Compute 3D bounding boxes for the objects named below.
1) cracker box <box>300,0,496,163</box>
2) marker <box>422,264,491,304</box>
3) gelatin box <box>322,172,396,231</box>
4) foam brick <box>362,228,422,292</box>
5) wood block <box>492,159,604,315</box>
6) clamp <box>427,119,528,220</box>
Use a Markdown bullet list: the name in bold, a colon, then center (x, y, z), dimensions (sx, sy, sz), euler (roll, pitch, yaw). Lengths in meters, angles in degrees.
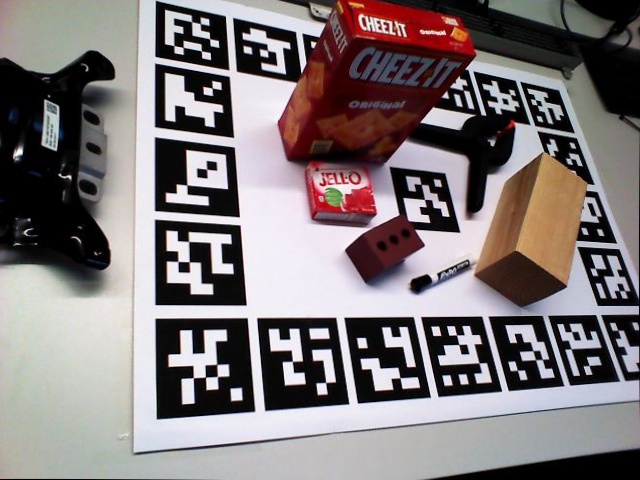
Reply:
- **cracker box**: center (0.090, -0.179, 0.639), dimensions (0.163, 0.215, 0.072), euler (-1, 67, -27)
- **marker**: center (0.183, 0.059, 0.695), dimensions (0.120, 0.020, 0.019), euler (-19, 79, -30)
- **gelatin box**: center (0.051, -0.050, 0.682), dimensions (0.089, 0.030, 0.073), euler (1, 69, -24)
- **foam brick**: center (0.104, 0.022, 0.657), dimensions (0.077, 0.052, 0.052), euler (-25, 81, -30)
- **wood block**: center (0.335, -0.007, 0.756), dimensions (0.090, 0.091, 0.205), euler (33, 56, -5)
- **clamp**: center (0.273, -0.139, 0.813), dimensions (0.201, 0.037, 0.165), euler (-32, 84, -31)
